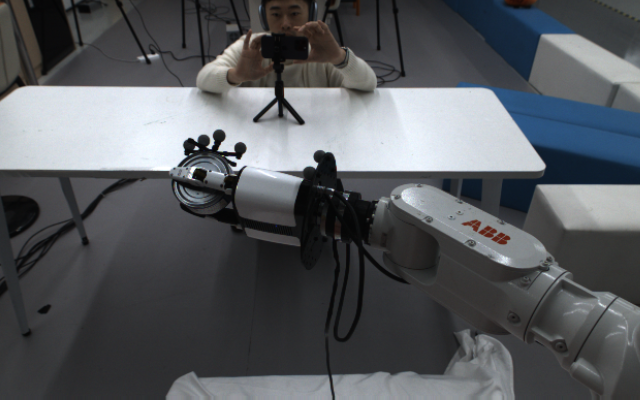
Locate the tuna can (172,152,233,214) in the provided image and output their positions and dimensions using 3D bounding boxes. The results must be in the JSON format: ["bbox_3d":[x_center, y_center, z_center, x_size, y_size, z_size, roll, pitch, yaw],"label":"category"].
[{"bbox_3d":[-0.162,-0.024,0.683,0.085,0.034,0.085,-3,68,8],"label":"tuna can"}]
